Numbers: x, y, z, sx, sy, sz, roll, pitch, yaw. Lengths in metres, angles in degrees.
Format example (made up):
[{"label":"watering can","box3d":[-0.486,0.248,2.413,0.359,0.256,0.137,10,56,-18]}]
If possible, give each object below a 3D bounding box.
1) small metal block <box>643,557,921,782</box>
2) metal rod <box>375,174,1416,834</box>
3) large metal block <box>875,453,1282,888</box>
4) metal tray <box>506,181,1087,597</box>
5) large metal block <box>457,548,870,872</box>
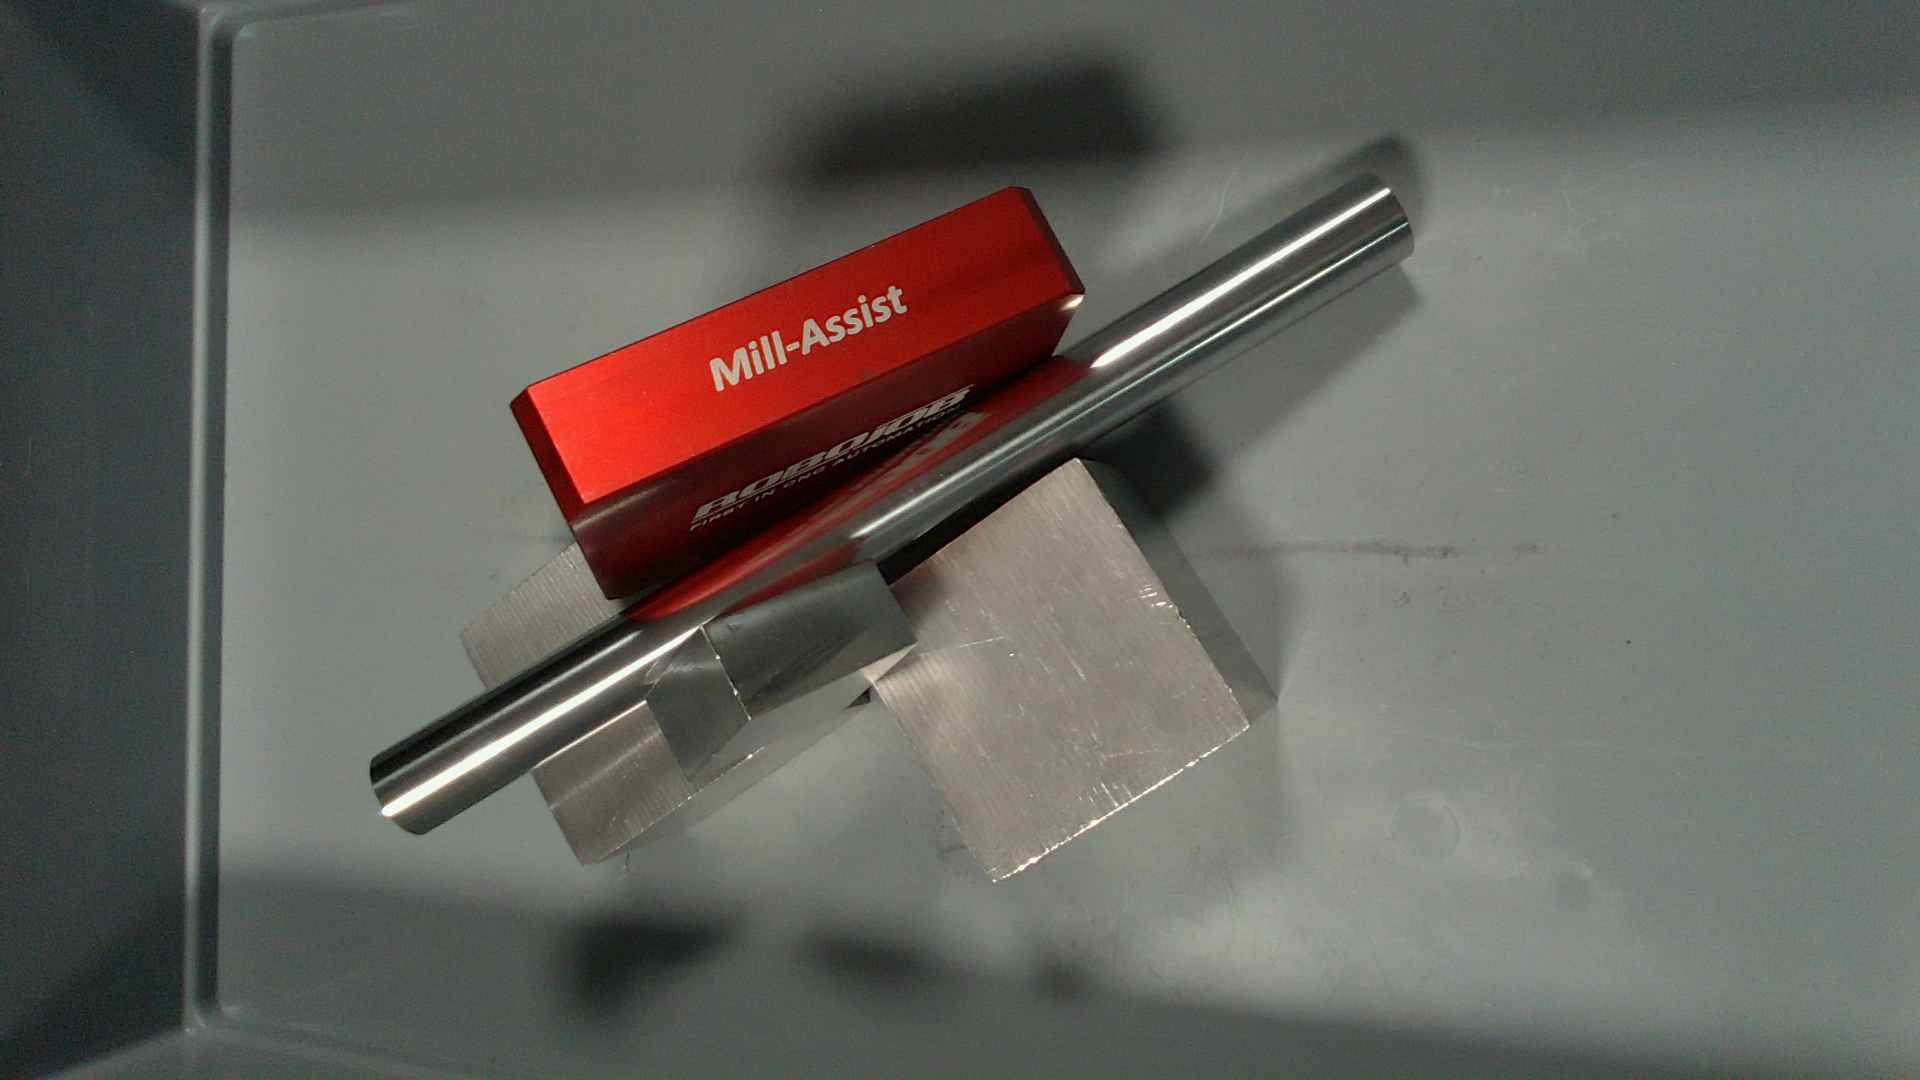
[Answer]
[{"label":"small metal block","box3d":[-0.046,0.033,0.346,0.025,0.050,0.050,61,144,10]},{"label":"metal rod","box3d":[-0.018,-0.008,0.362,0.300,0.025,0.025,-30,80,2]},{"label":"large metal block","box3d":[0.028,0.034,0.372,0.080,0.050,0.080,-35,79,17]},{"label":"metal tray","box3d":[-0.040,-0.035,0.346,0.130,0.090,0.030,-26,81,-14]},{"label":"large metal block","box3d":[-0.088,0.039,0.411,0.080,0.050,0.080,-35,79,17]}]
